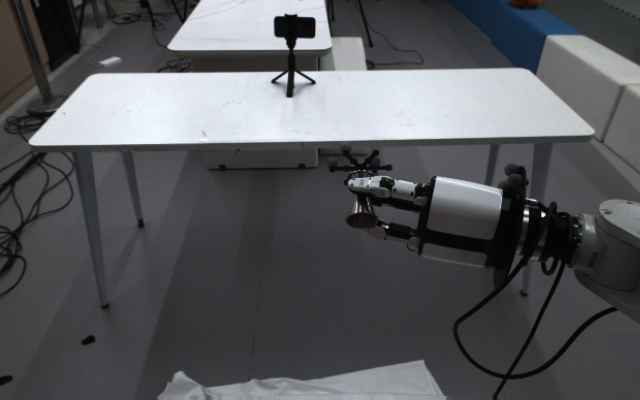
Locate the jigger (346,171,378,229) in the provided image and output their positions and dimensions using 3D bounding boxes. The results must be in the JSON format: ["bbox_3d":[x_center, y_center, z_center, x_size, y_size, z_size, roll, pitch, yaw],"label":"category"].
[{"bbox_3d":[0.056,-0.005,0.653,0.043,0.043,0.071,2,59,-1],"label":"jigger"}]
